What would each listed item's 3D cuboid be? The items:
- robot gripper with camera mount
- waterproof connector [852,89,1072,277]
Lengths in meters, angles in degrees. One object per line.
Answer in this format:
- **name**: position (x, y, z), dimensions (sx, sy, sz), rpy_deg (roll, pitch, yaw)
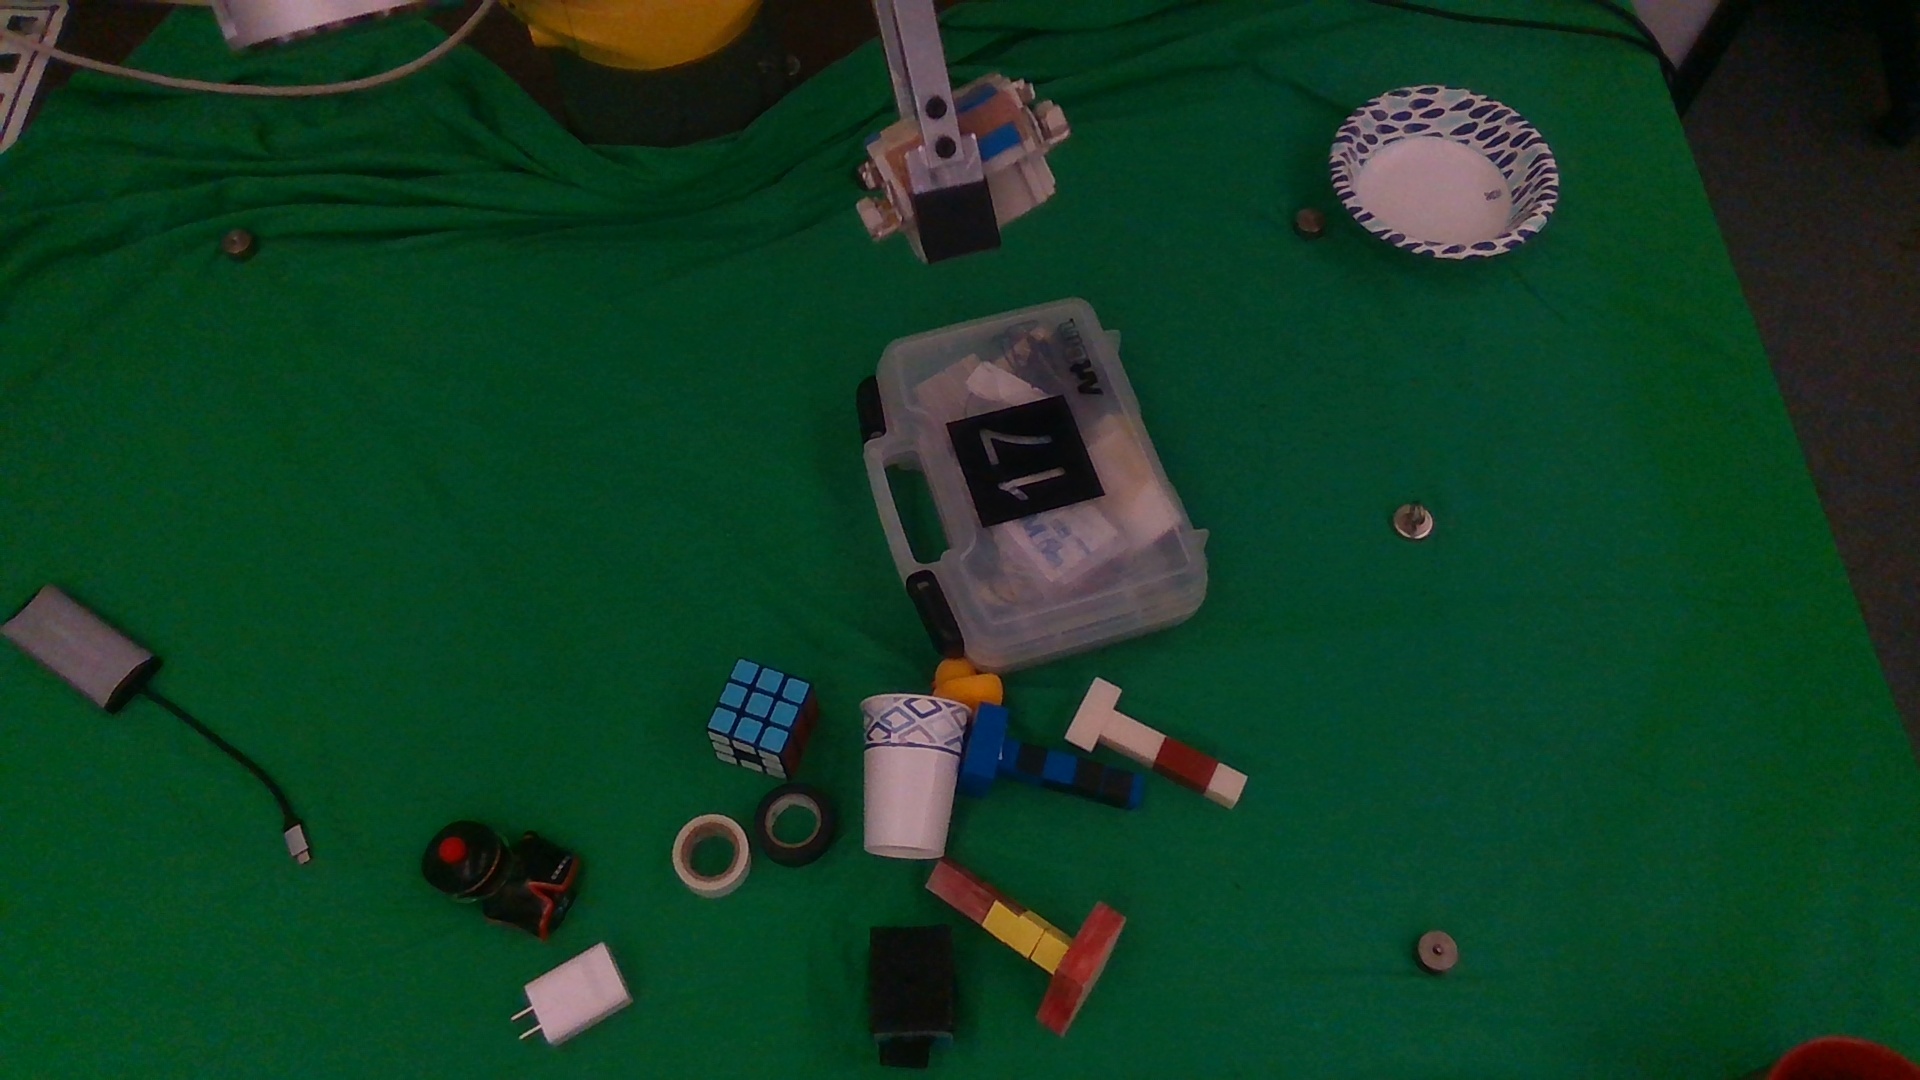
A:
- **robot gripper with camera mount**: position (-0.090, -0.131, 0.372), dimensions (0.193, 0.158, 0.119), rpy_deg (-18, 20, -1)
- **waterproof connector**: position (0.000, -0.102, 0.399), dimensions (0.065, 0.037, 0.035), rpy_deg (-27, 24, 1)
